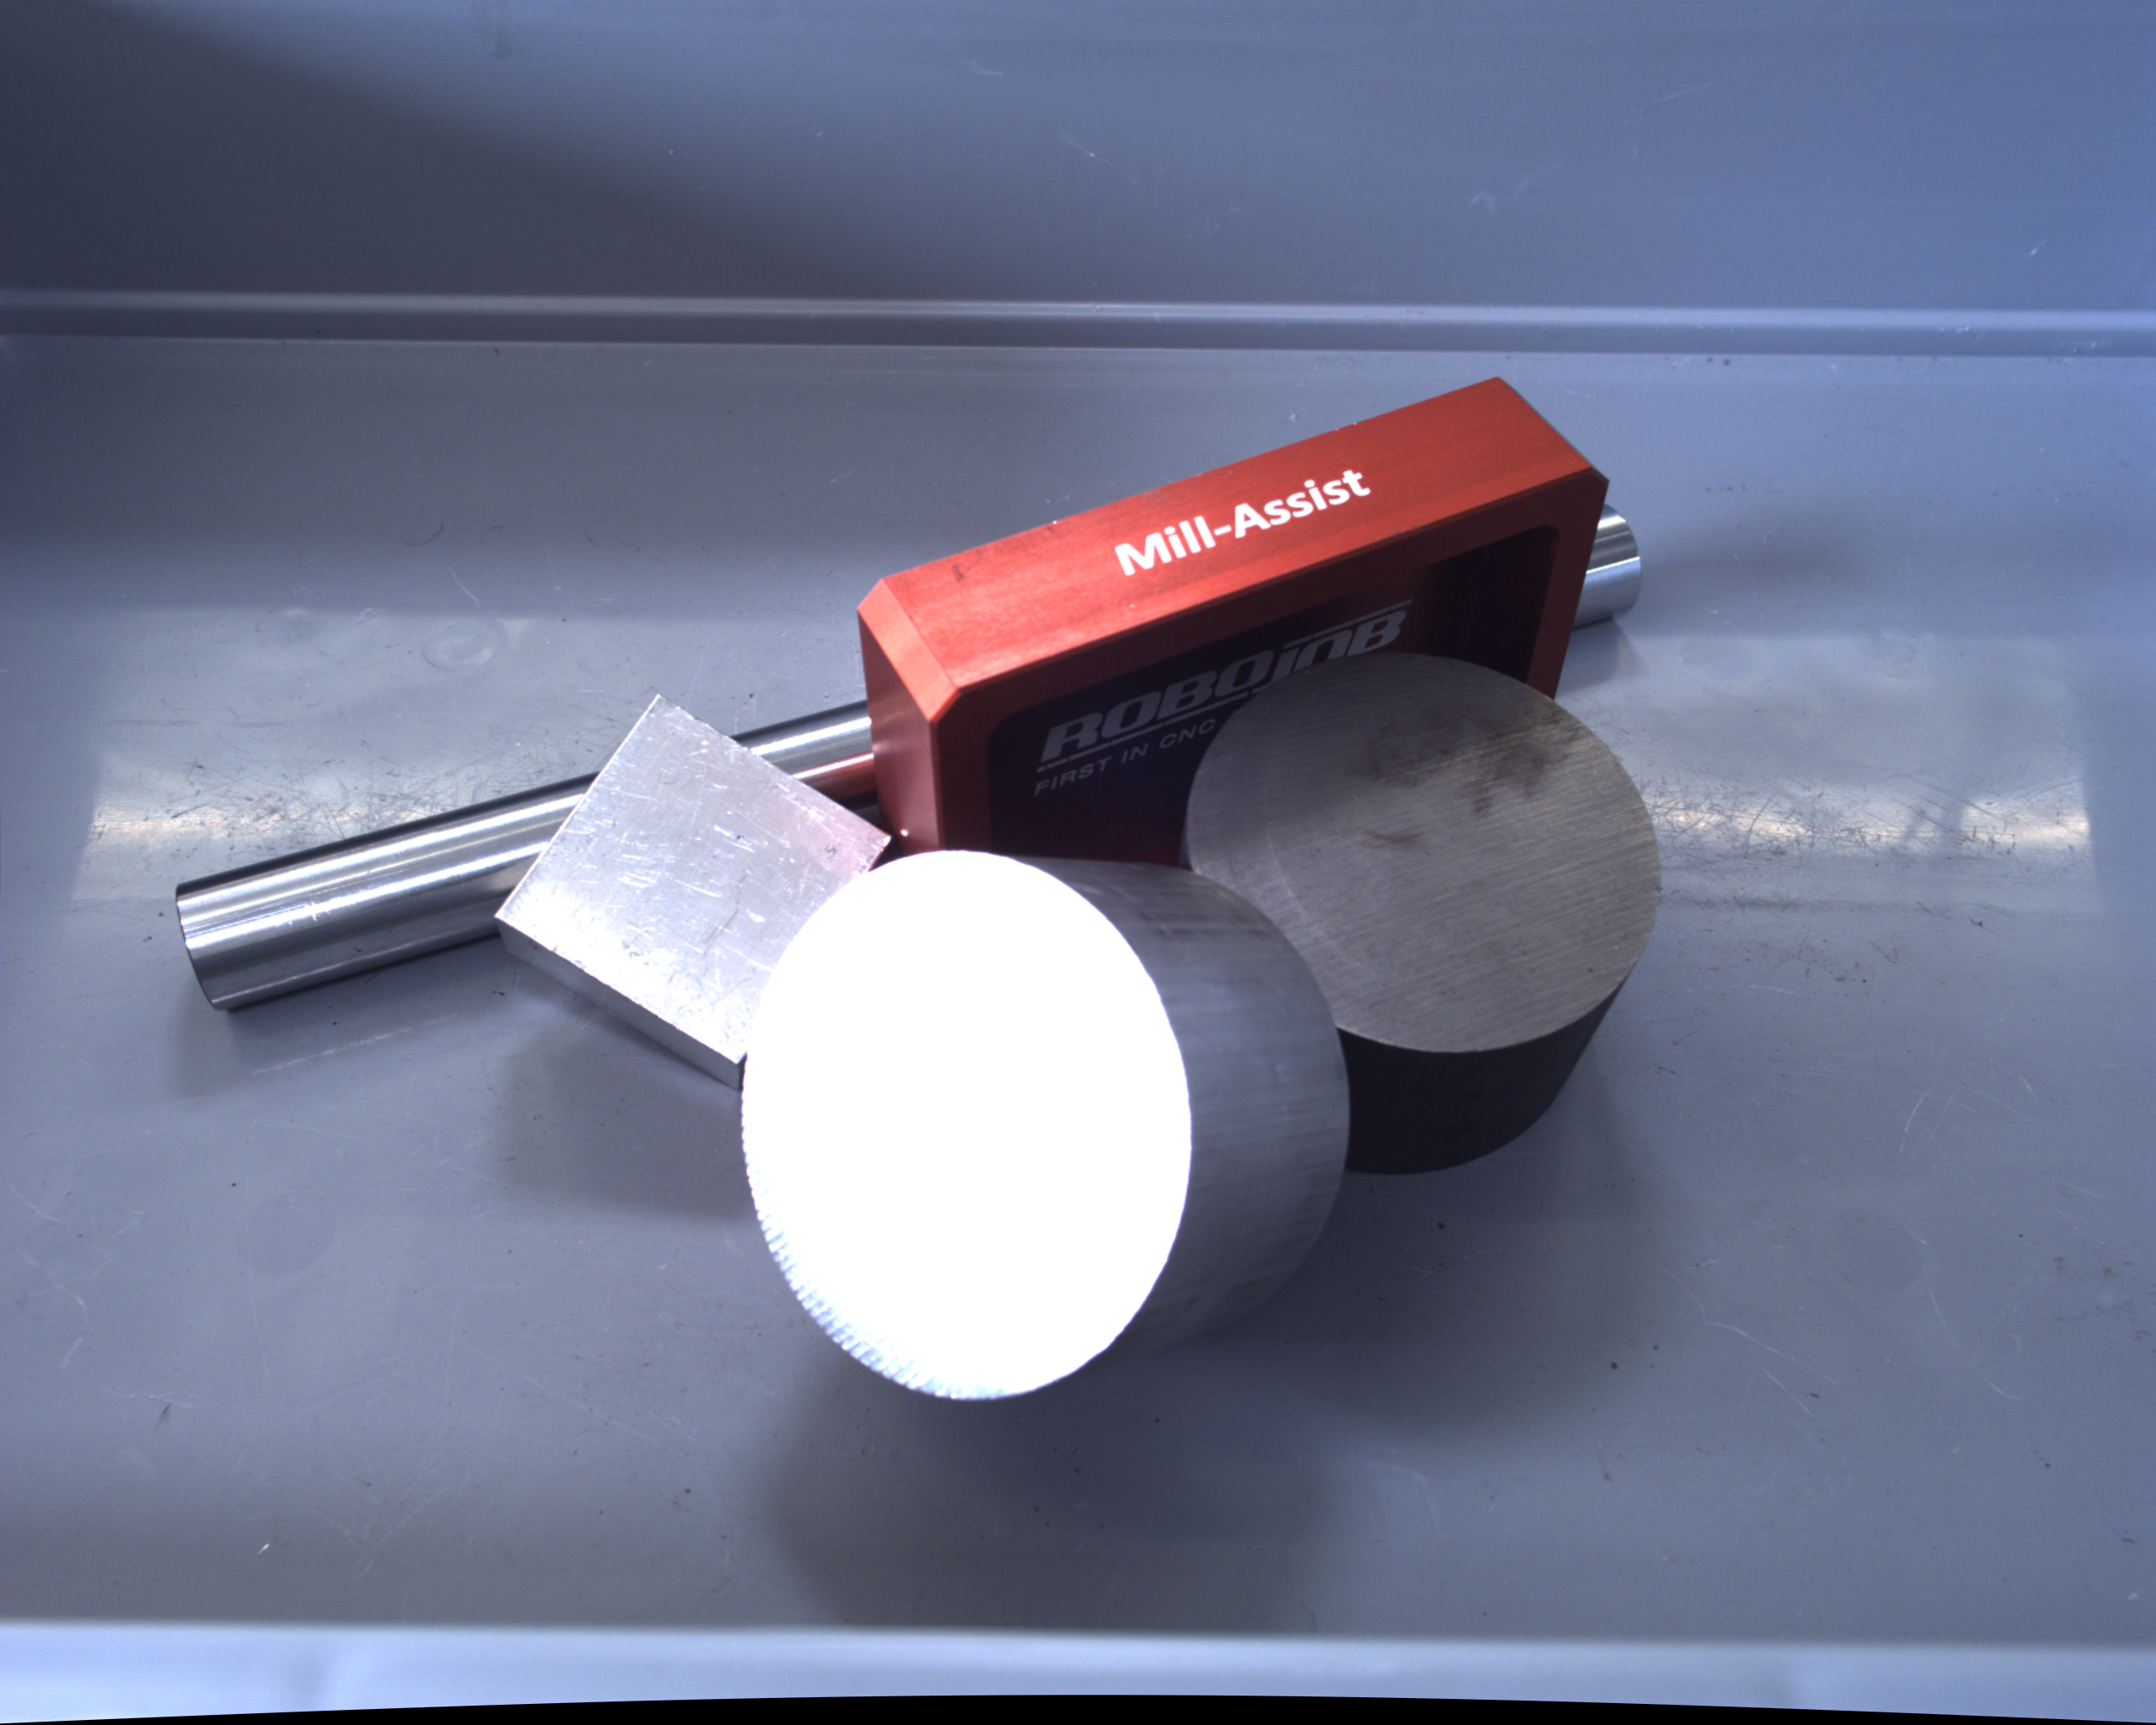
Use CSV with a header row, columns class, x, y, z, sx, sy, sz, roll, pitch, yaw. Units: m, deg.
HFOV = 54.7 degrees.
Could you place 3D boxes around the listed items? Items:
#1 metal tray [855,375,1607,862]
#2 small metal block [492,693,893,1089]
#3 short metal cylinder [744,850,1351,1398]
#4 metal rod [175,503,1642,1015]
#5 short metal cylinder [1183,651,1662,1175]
class,x,y,z,sx,sy,sz,roll,pitch,yaw
metal tray,0.028,-0.029,0.385,0.131,0.089,0.030,-21,53,-17
small metal block,-0.069,0.006,0.381,0.050,0.025,0.050,32,71,1
short metal cylinder,-0.005,0.039,0.326,0.080,0.080,0.050,40,19,28
metal rod,-0.023,-0.026,0.424,0.302,0.025,0.025,-17,52,-14
short metal cylinder,0.057,0.009,0.373,0.081,0.050,0.080,2,58,-4
